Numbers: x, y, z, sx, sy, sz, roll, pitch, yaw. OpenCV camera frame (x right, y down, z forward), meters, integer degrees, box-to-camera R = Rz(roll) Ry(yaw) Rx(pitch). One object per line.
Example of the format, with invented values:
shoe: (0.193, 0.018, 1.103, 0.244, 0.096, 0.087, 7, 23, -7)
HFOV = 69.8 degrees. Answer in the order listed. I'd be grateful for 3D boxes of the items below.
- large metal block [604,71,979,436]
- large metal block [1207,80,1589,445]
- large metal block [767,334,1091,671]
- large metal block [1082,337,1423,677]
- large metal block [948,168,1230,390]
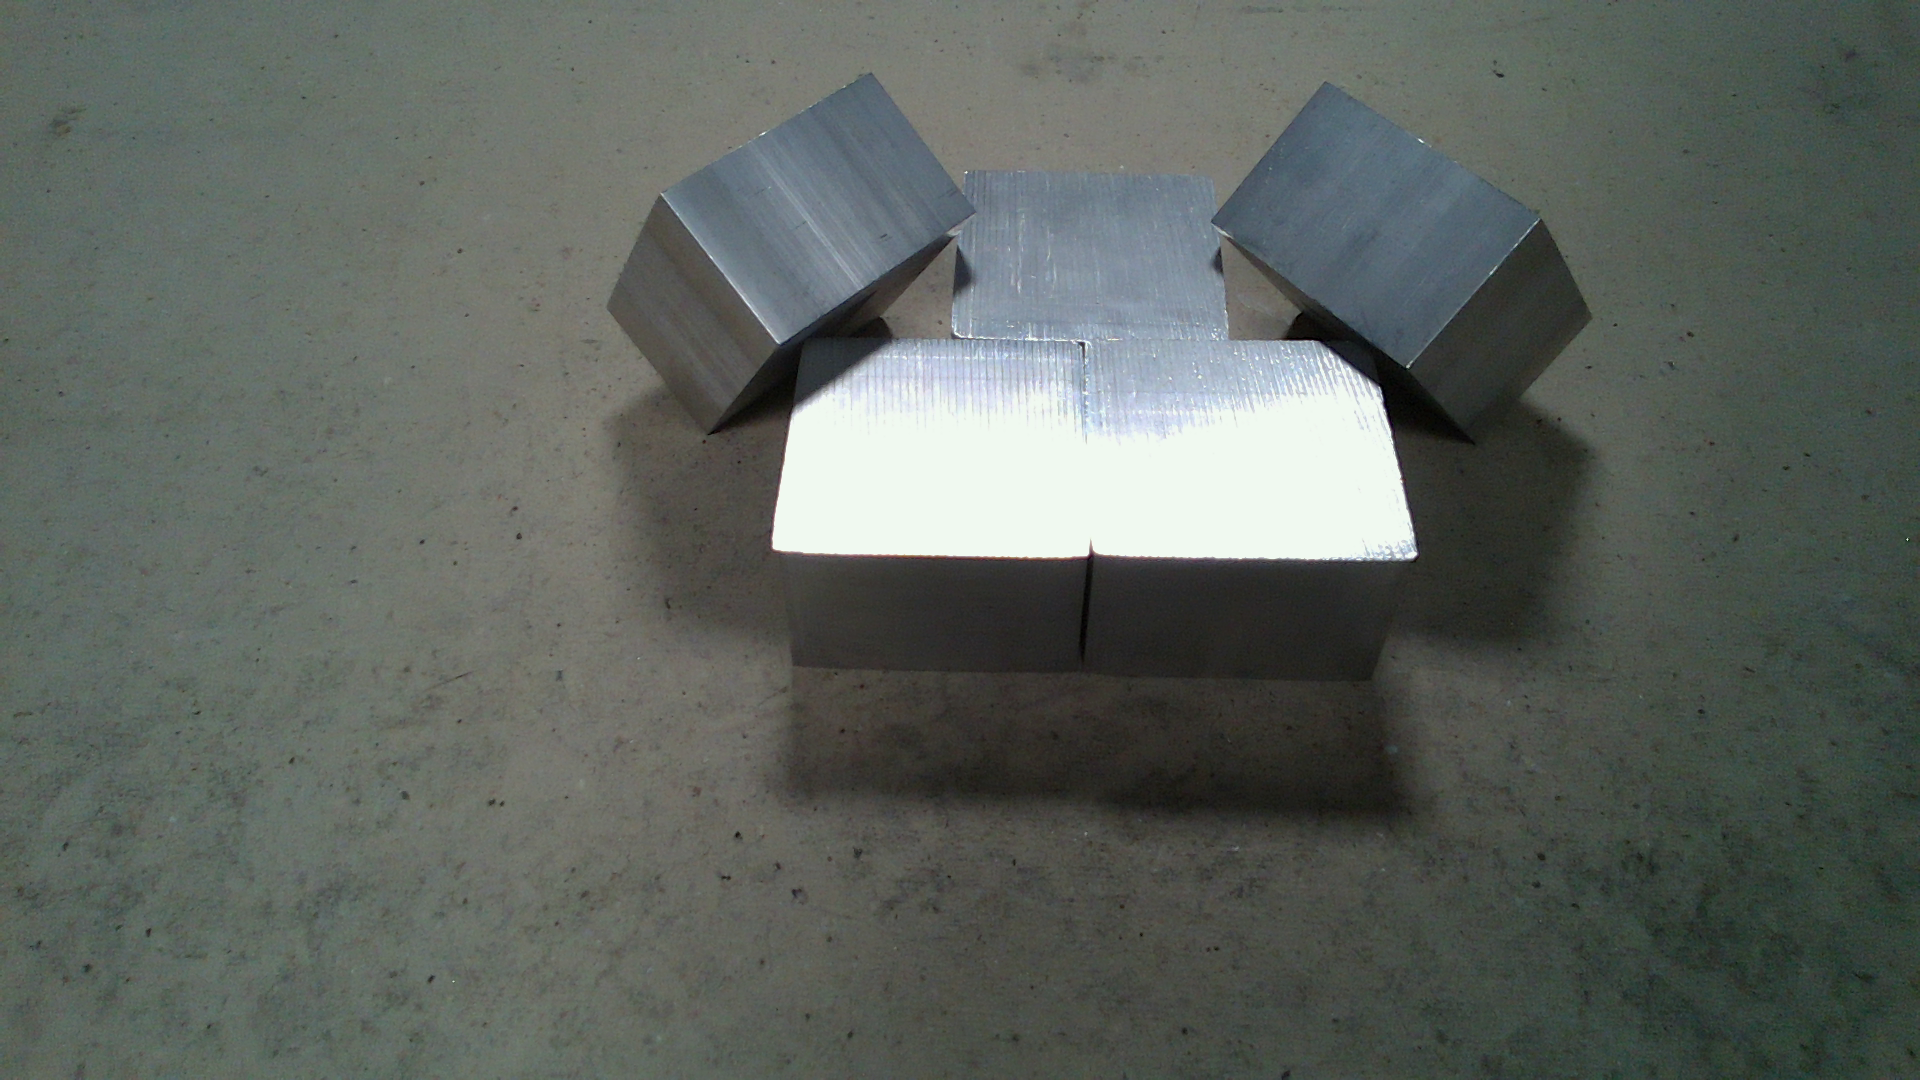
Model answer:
large metal block: (-0.053, -0.085, 0.418, 0.080, 0.080, 0.050, -40, 95, -28)
large metal block: (0.134, -0.082, 0.417, 0.050, 0.080, 0.080, -51, 57, 13)
large metal block: (-0.006, -0.012, 0.384, 0.080, 0.050, 0.080, 1, 50, 1)
large metal block: (0.074, -0.010, 0.381, 0.080, 0.050, 0.080, 1, 50, 1)
large metal block: (0.039, -0.072, 0.436, 0.080, 0.050, 0.080, 2, 50, 2)
